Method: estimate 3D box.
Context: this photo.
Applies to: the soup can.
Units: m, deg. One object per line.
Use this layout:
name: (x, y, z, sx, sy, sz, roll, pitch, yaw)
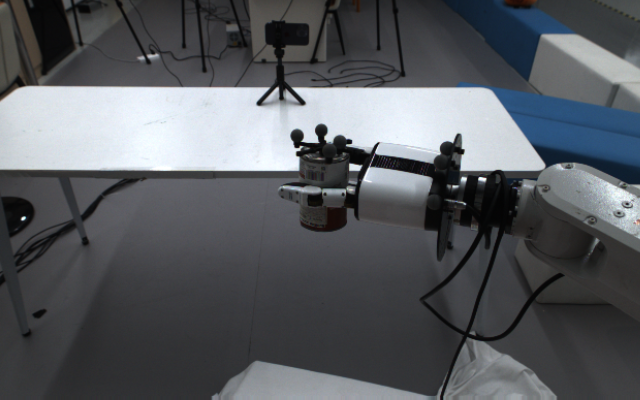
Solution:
soup can: (0.006, -0.017, 0.648, 0.067, 0.101, 0.067, 1, 26, 0)
